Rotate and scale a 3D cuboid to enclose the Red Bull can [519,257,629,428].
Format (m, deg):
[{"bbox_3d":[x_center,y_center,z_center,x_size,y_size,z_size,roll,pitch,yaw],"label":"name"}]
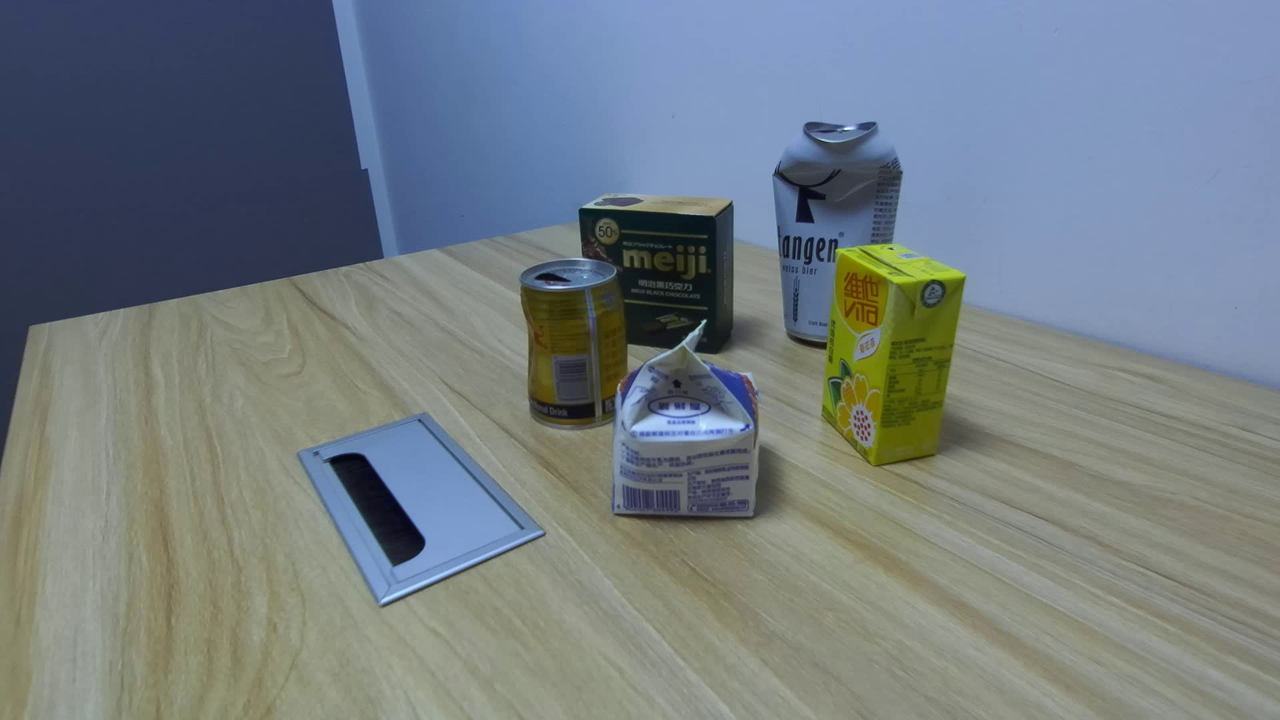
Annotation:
[{"bbox_3d":[-0.042,-0.011,0.450,0.069,0.092,0.069,-2,23,1],"label":"Red Bull can"}]

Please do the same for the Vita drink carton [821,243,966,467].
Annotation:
[{"bbox_3d":[0.140,-0.004,0.399,0.043,0.109,0.066,-6,25,-11],"label":"Vita drink carton"}]

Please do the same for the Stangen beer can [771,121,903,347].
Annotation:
[{"bbox_3d":[0.144,-0.092,0.527,0.077,0.162,0.065,-10,27,-14],"label":"Stangen beer can"}]

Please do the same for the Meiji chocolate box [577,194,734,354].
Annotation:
[{"bbox_3d":[0.014,-0.068,0.549,0.109,0.109,0.056,8,26,21],"label":"Meiji chocolate box"}]

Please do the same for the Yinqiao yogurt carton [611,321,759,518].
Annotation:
[{"bbox_3d":[0.023,0.024,0.362,0.077,0.093,0.083,0,25,5],"label":"Yinqiao yogurt carton"}]
